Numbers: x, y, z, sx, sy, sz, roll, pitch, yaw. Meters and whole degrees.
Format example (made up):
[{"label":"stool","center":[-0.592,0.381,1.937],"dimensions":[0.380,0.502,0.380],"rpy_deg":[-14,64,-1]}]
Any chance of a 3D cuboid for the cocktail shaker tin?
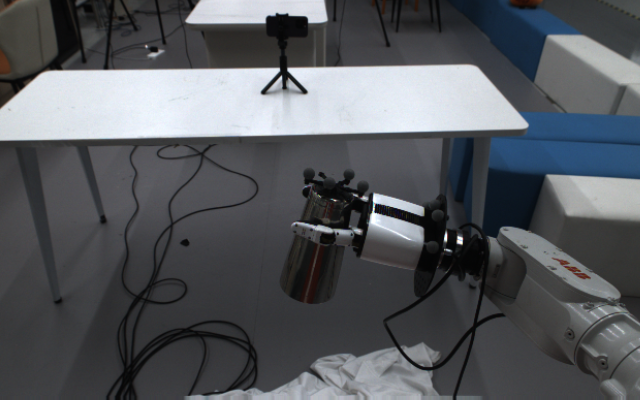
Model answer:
[{"label":"cocktail shaker tin","center":[0.002,0.059,0.742],"dimensions":[0.093,0.170,0.093],"rpy_deg":[12,25,-6]}]
